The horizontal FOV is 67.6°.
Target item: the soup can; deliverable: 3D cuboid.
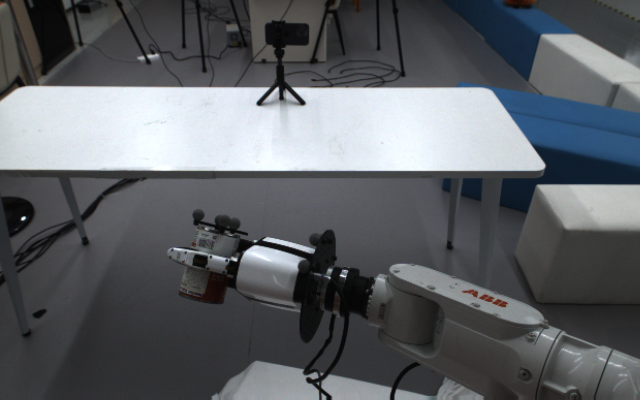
[{"bbox_3d":[-0.160,0.096,0.705,0.067,0.101,0.067,13,-6,1],"label":"soup can"}]
